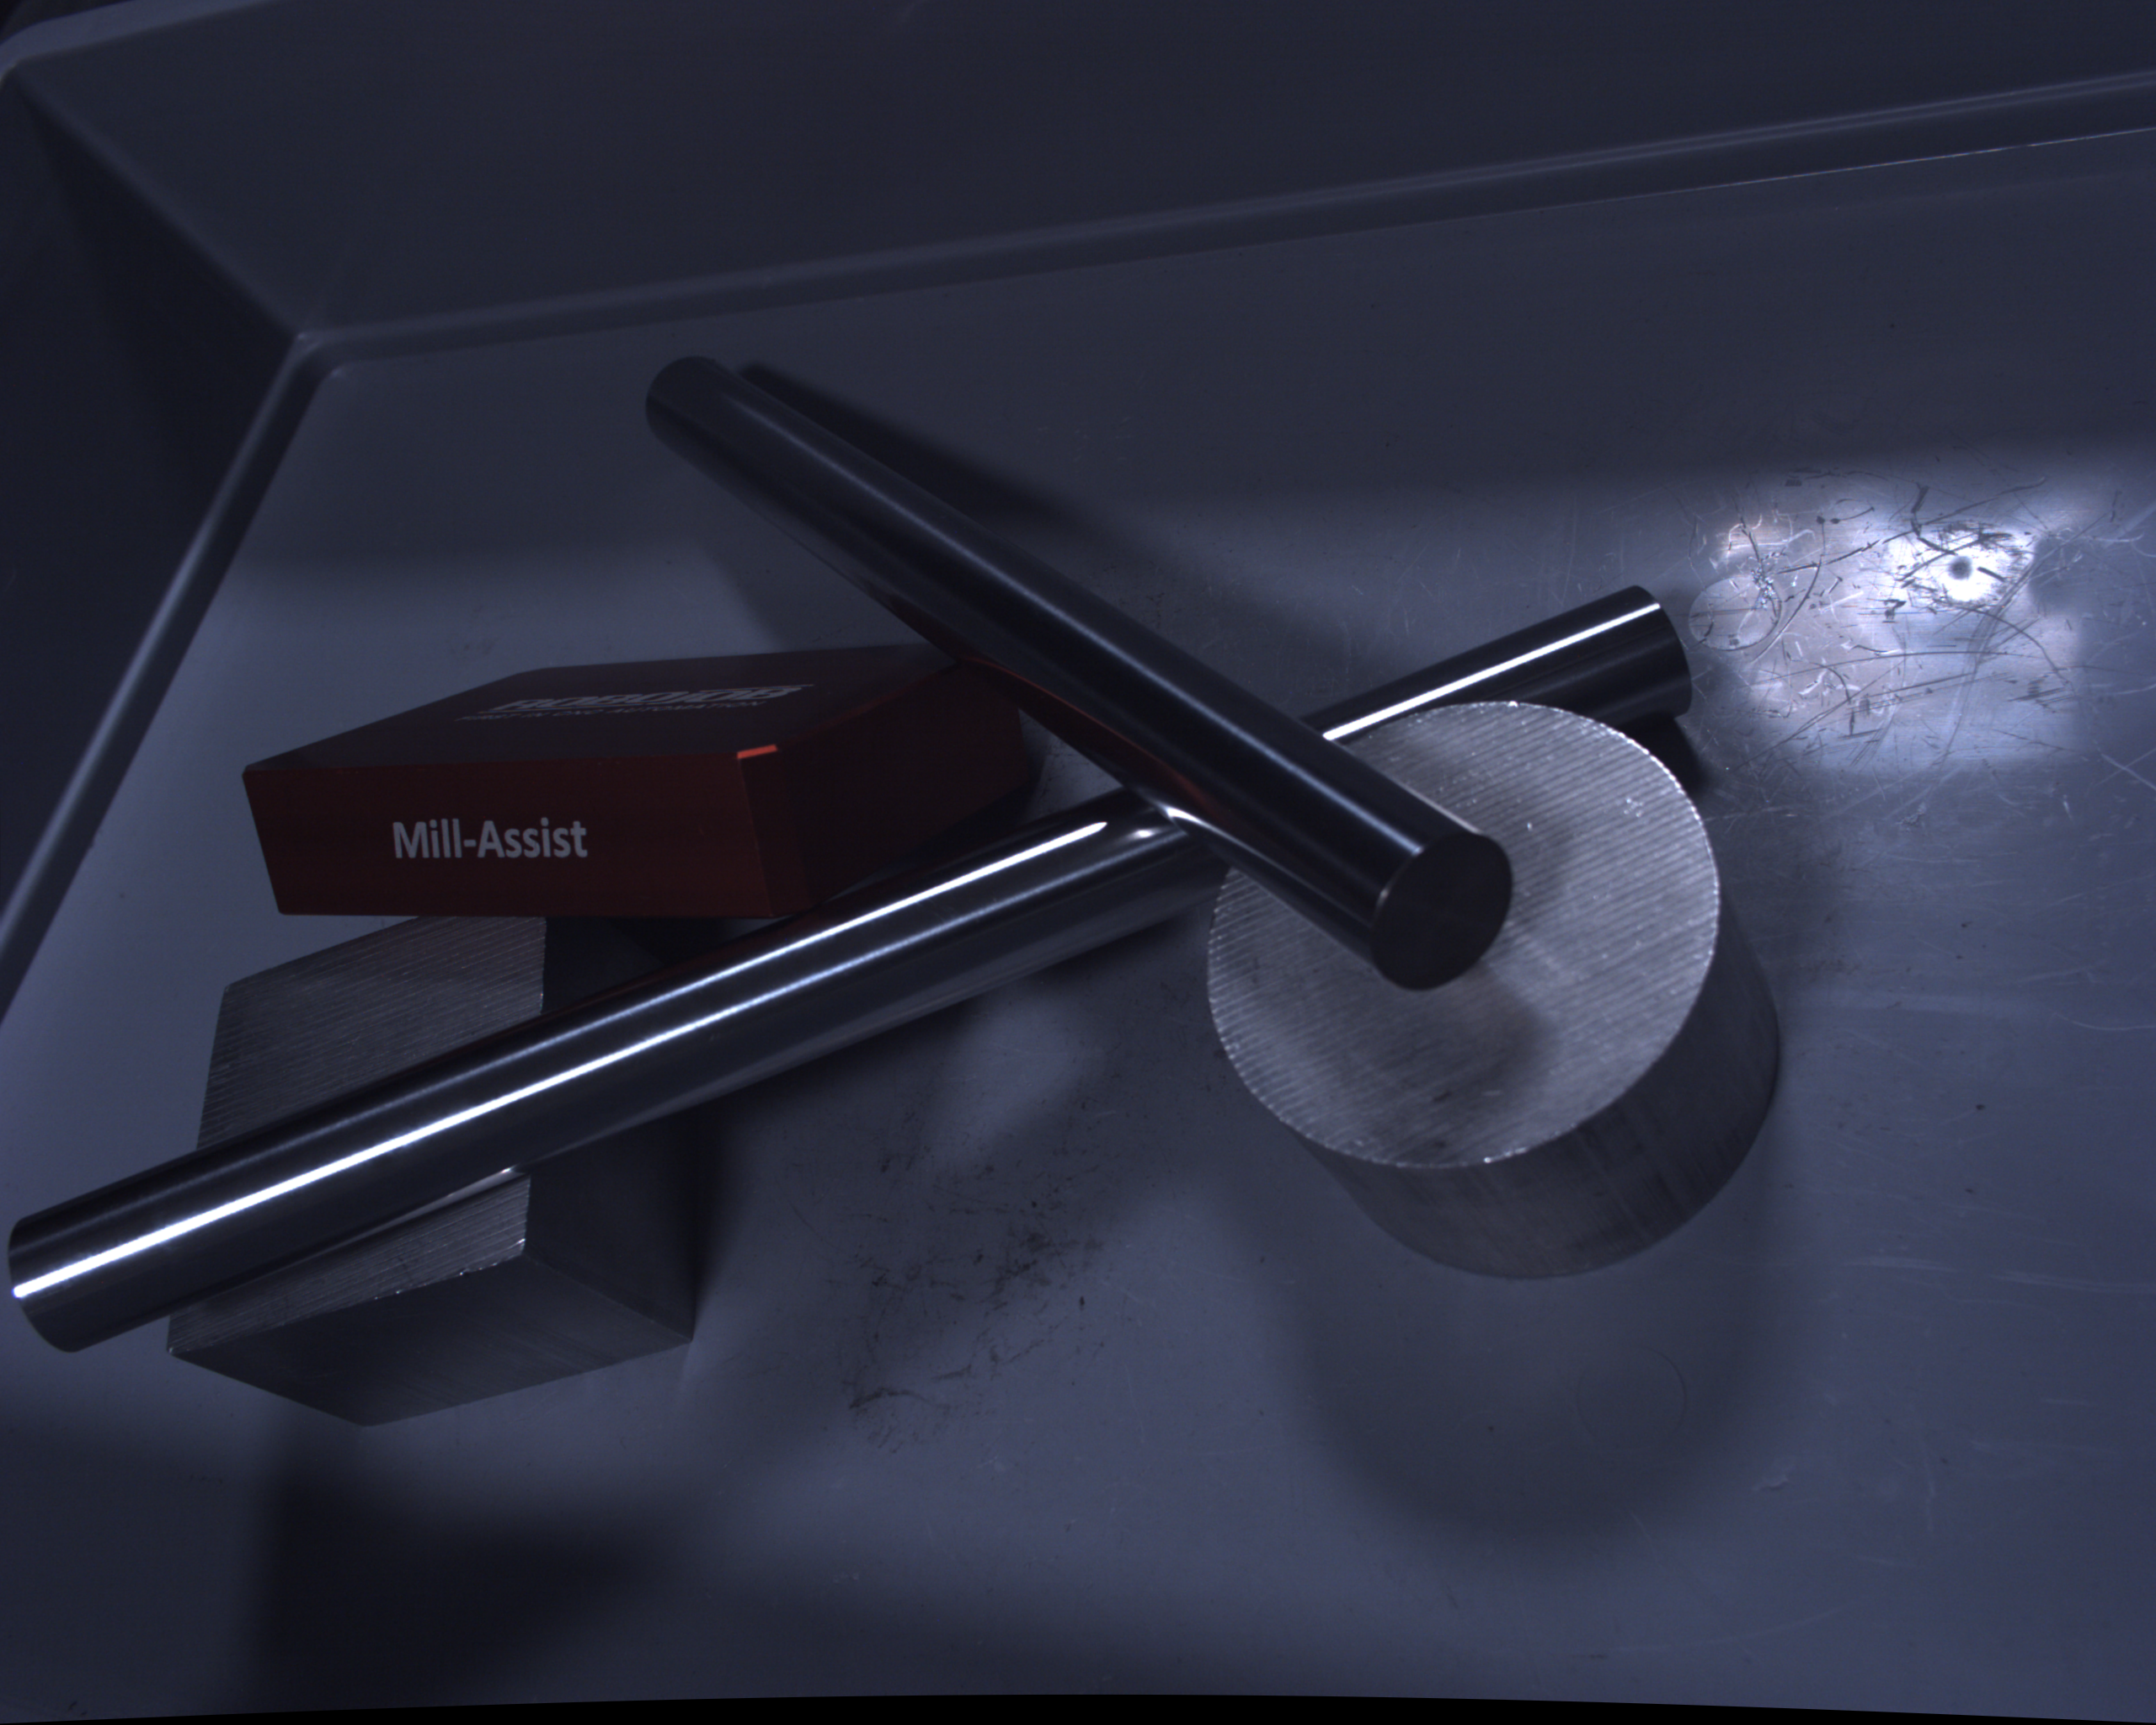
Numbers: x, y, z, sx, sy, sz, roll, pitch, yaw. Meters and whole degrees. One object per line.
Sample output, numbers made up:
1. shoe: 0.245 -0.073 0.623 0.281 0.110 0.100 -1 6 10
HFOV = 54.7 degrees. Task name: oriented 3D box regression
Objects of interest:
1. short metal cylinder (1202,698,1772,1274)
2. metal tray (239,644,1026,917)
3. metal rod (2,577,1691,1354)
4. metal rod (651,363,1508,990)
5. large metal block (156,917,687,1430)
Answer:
1. short metal cylinder: 0.067 0.020 0.338 0.080 0.050 0.080 -13 56 20
2. metal tray: -0.088 -0.018 0.421 0.130 0.030 0.091 0 18 29
3. metal rod: -0.037 0.016 0.364 0.302 0.025 0.025 -22 53 -3
4. metal rod: -0.022 -0.054 0.410 0.025 0.025 0.300 -46 39 -4
5. large metal block: -0.125 0.058 0.412 0.080 0.050 0.080 -18 55 17
